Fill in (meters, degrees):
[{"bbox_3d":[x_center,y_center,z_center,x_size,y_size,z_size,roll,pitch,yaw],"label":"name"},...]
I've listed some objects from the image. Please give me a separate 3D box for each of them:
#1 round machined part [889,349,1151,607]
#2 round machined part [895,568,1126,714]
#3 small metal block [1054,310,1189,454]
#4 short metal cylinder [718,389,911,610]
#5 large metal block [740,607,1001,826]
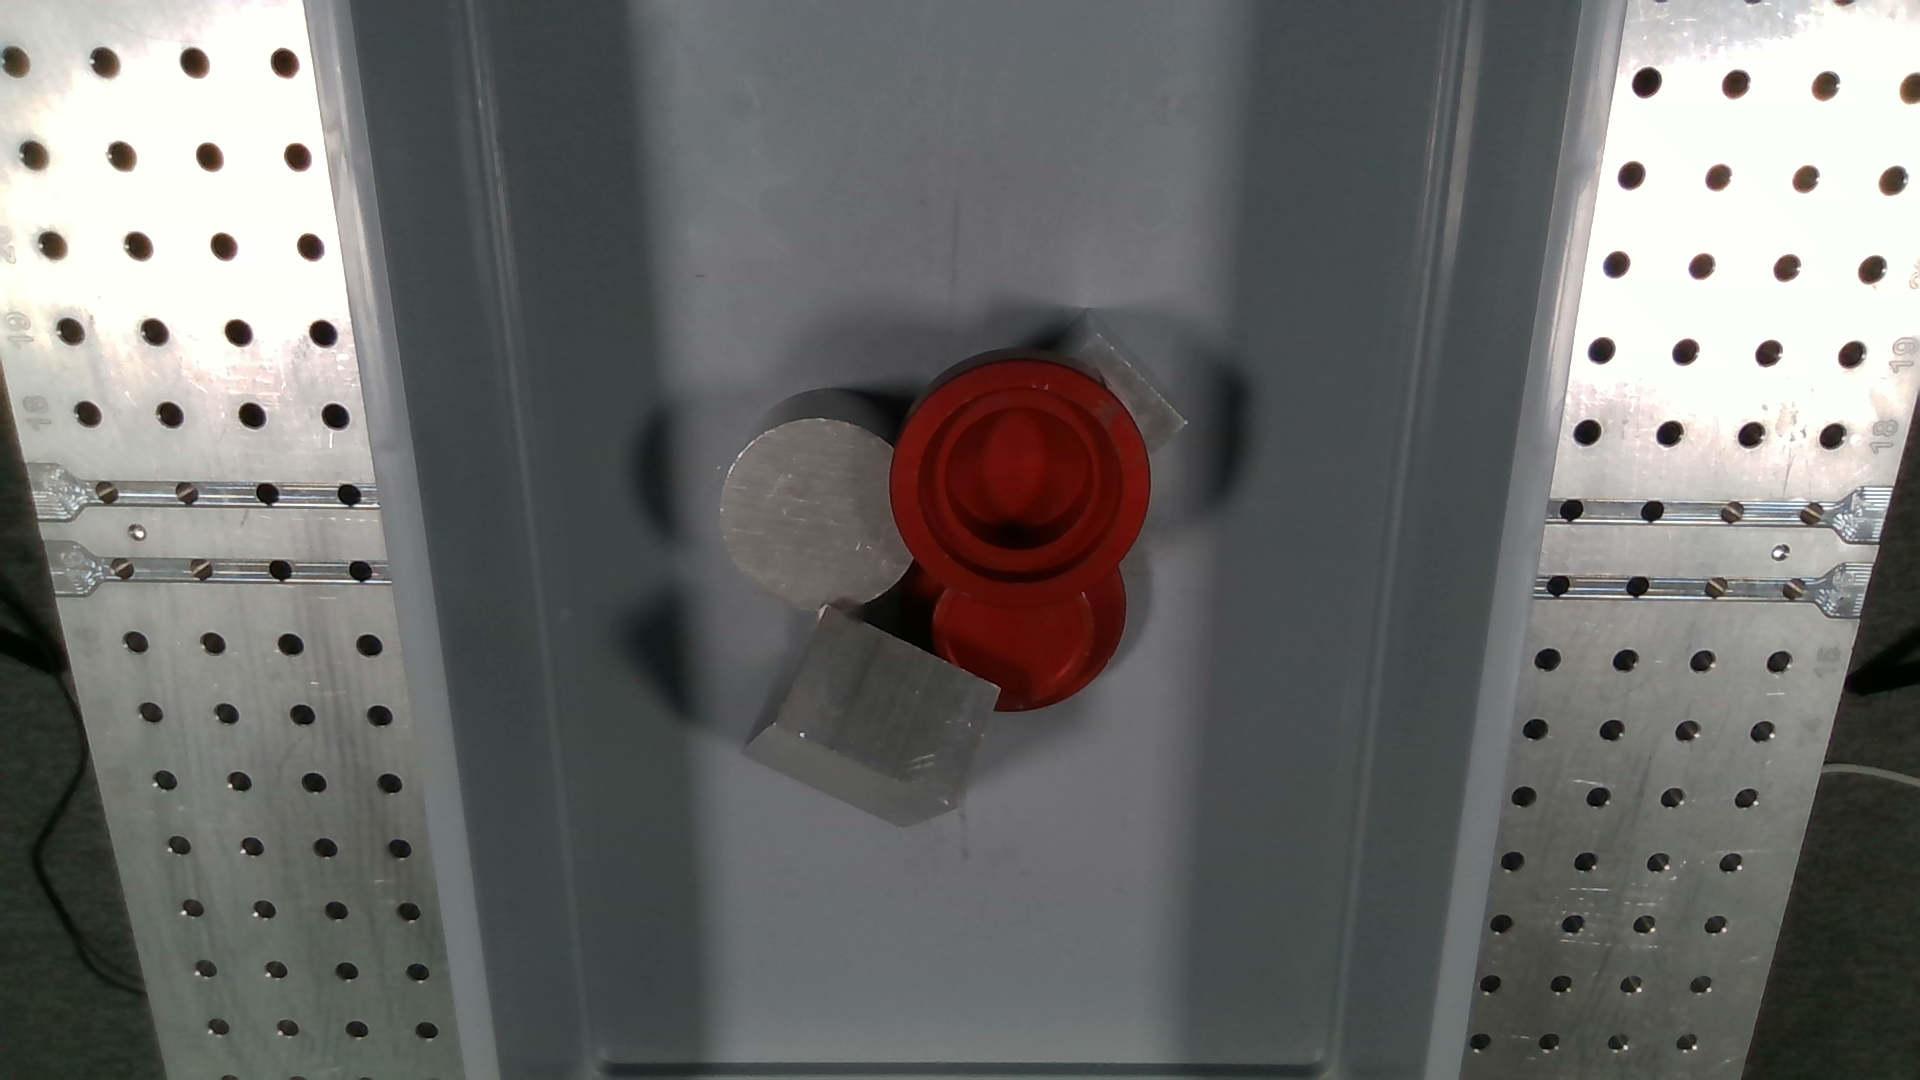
[{"bbox_3d":[0.022,-0.027,0.533,0.098,0.042,0.098,0,110,0],"label":"round machined part"},{"bbox_3d":[0.021,0.031,0.584,0.098,0.042,0.098,0,110,0],"label":"round machined part"},{"bbox_3d":[0.061,-0.062,0.546,0.050,0.050,0.025,42,105,-13],"label":"small metal block"},{"bbox_3d":[-0.055,-0.018,0.563,0.080,0.050,0.080,0,110,0],"label":"short metal cylinder"},{"bbox_3d":[-0.040,0.076,0.575,0.080,0.080,0.050,27,67,-10],"label":"large metal block"}]
